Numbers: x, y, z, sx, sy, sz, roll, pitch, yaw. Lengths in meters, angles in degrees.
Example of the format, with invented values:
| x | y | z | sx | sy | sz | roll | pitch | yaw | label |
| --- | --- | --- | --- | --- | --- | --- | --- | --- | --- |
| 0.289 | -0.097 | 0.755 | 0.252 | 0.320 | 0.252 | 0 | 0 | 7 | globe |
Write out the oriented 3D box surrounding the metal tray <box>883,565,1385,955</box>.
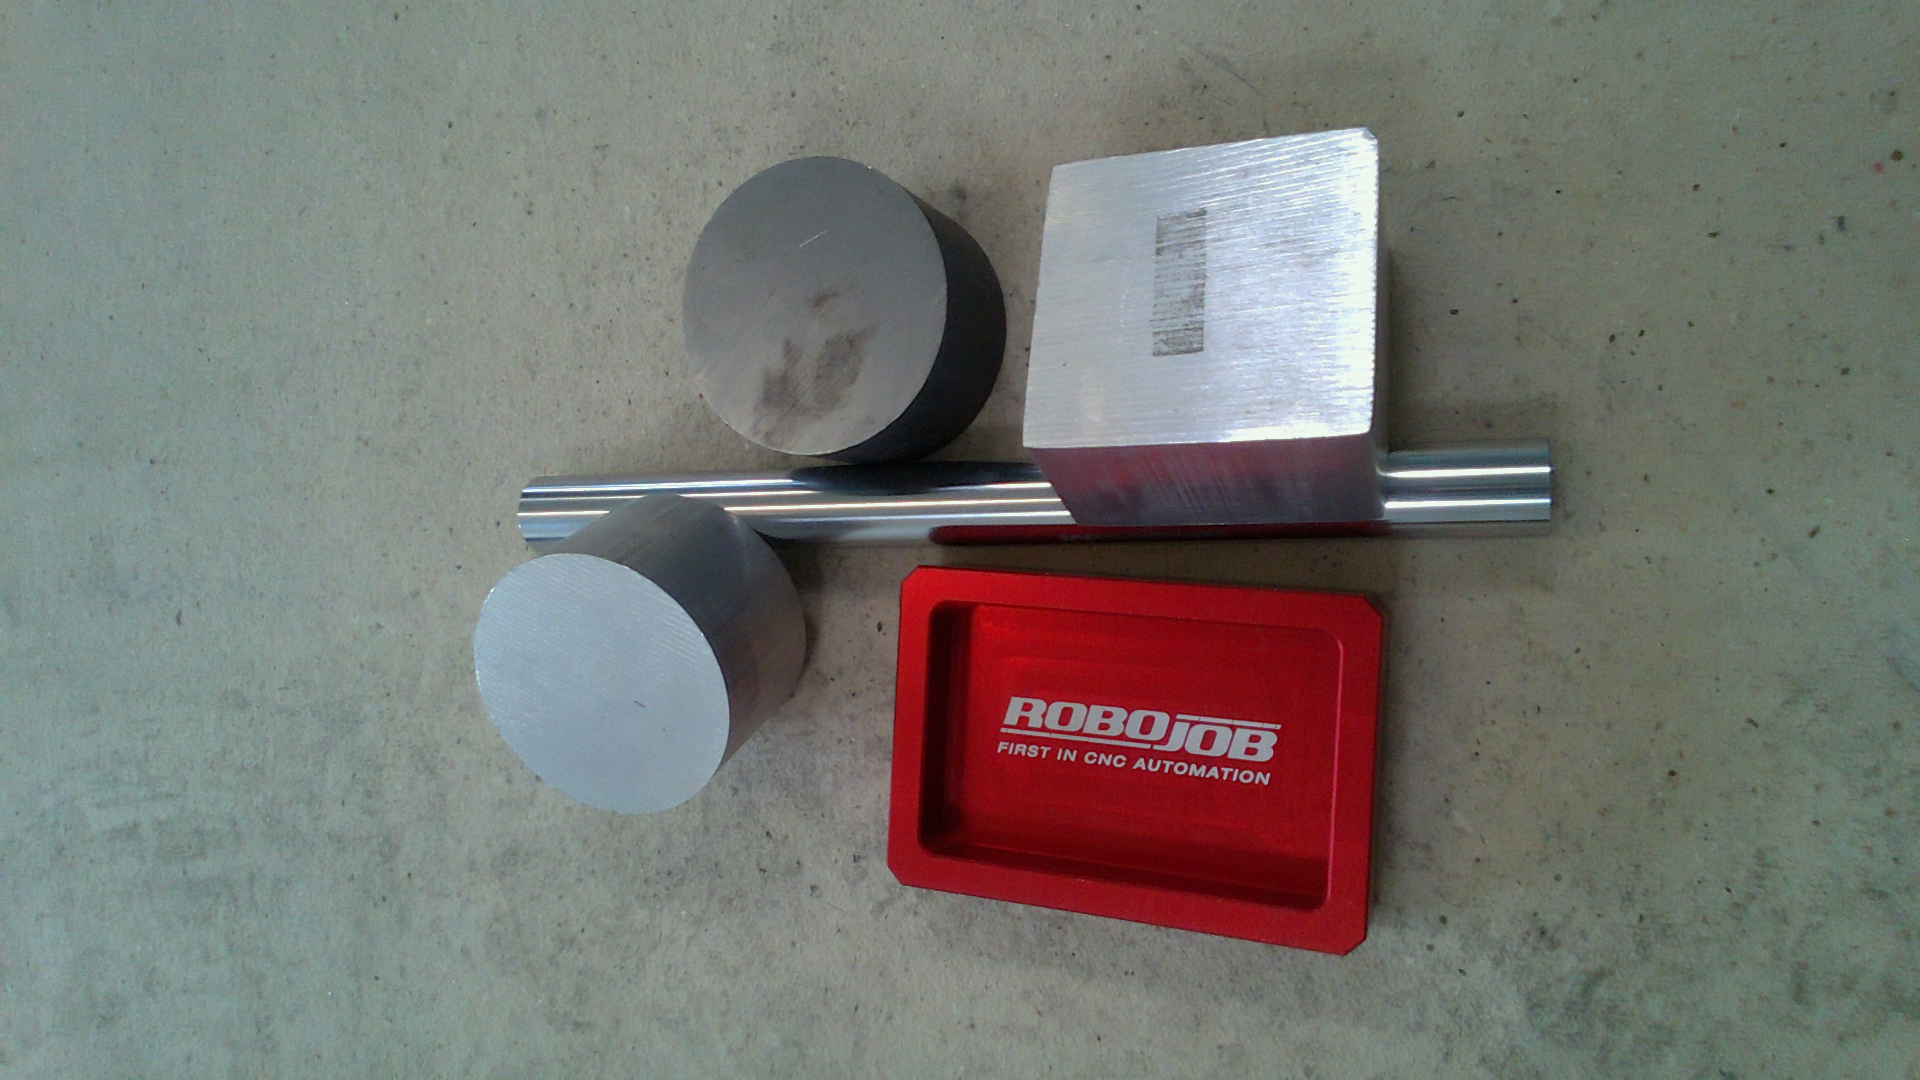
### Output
| x | y | z | sx | sy | sz | roll | pitch | yaw | label |
| --- | --- | --- | --- | --- | --- | --- | --- | --- | --- |
| 0.046 | 0.055 | 0.376 | 0.130 | 0.030 | 0.090 | 4 | 91 | 20 | metal tray |

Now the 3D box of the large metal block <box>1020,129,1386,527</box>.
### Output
| x | y | z | sx | sy | sz | roll | pitch | yaw | label |
| --- | --- | --- | --- | --- | --- | --- | --- | --- | --- |
| 0.064 | -0.050 | 0.346 | 0.080 | 0.050 | 0.080 | -1 | 69 | 20 | large metal block |

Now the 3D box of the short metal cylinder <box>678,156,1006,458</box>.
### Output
| x | y | z | sx | sy | sz | roll | pitch | yaw | label |
| --- | --- | --- | --- | --- | --- | --- | --- | --- | --- |
| -0.033 | -0.063 | 0.394 | 0.080 | 0.050 | 0.080 | 0 | 89 | 20 | short metal cylinder |

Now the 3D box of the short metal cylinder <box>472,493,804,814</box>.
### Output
| x | y | z | sx | sy | sz | roll | pitch | yaw | label |
| --- | --- | --- | --- | --- | --- | --- | --- | --- | --- |
| -0.093 | 0.032 | 0.403 | 0.080 | 0.050 | 0.080 | 7 | 113 | 17 | short metal cylinder |

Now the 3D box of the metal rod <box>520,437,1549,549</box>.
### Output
| x | y | z | sx | sy | sz | roll | pitch | yaw | label |
| --- | --- | --- | --- | --- | --- | --- | --- | --- | --- |
| 0.006 | -0.011 | 0.395 | 0.299 | 0.025 | 0.025 | -1 | 90 | 20 | metal rod |
